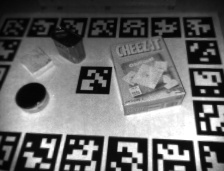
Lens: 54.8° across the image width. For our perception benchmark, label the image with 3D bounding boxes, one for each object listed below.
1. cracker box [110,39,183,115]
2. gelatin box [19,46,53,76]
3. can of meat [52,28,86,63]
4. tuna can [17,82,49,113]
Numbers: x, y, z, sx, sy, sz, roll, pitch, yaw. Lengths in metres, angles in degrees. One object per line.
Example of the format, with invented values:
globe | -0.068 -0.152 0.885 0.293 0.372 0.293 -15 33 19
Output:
cracker box | 0.093 -0.033 0.643 0.164 0.072 0.212 -12 57 -4
gelatin box | -0.252 -0.084 0.719 0.074 0.030 0.088 -39 66 -22
can of meat | -0.138 -0.130 0.717 0.101 0.084 0.058 28 64 22
tuna can | -0.232 0.036 0.638 0.085 0.034 0.085 -2 61 5
